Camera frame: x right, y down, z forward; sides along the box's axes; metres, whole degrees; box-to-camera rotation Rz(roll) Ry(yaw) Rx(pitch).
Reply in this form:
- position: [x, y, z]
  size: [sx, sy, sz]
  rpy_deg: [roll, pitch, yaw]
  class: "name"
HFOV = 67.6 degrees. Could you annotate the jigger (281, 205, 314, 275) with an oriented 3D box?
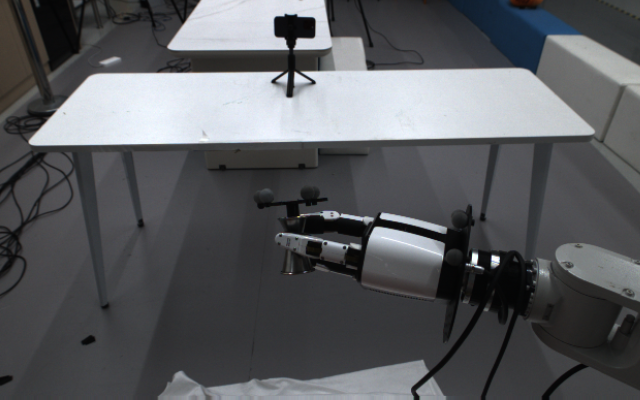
- position: [-0.030, 0.053, 0.591]
  size: [0.043, 0.071, 0.043]
  rpy_deg: [-4, 1, 0]
  class: "jigger"
